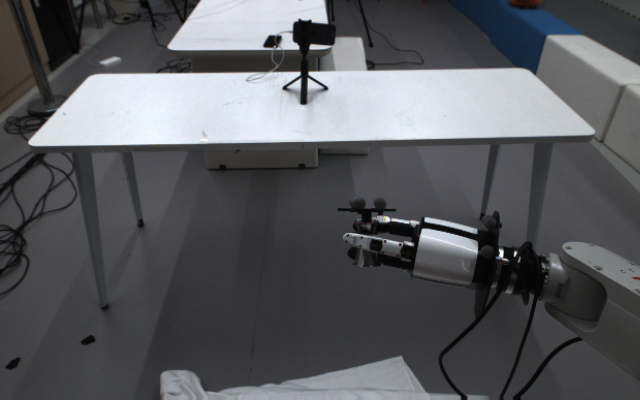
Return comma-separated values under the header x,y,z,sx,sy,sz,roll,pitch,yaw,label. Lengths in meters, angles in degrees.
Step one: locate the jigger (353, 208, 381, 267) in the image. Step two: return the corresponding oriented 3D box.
x,y,z,sx,sy,sz,roll,pitch,yaw,label
0.072,0.065,0.747,0.043,0.071,0.043,-1,2,0,jigger
